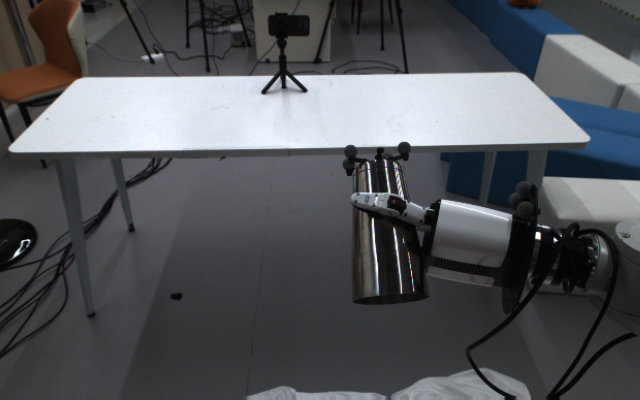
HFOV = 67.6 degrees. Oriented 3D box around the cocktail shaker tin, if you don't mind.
[{"bbox_3d":[0.080,0.040,0.605,0.093,0.093,0.170,-2,70,-5],"label":"cocktail shaker tin"}]
